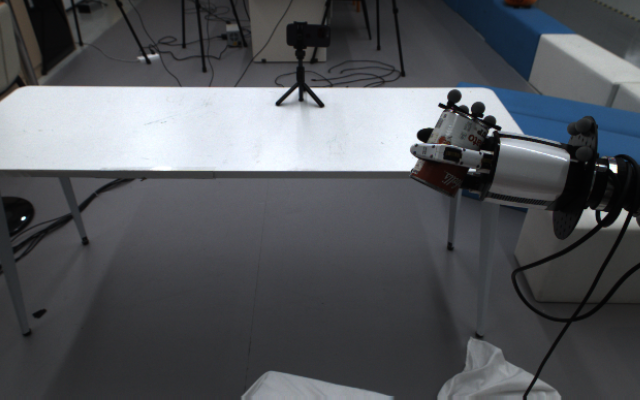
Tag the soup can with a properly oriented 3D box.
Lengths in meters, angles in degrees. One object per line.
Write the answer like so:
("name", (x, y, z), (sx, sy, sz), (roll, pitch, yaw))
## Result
("soup can", (0.174, -0.063, 0.649), (0.067, 0.101, 0.067), (26, 5, -3))
